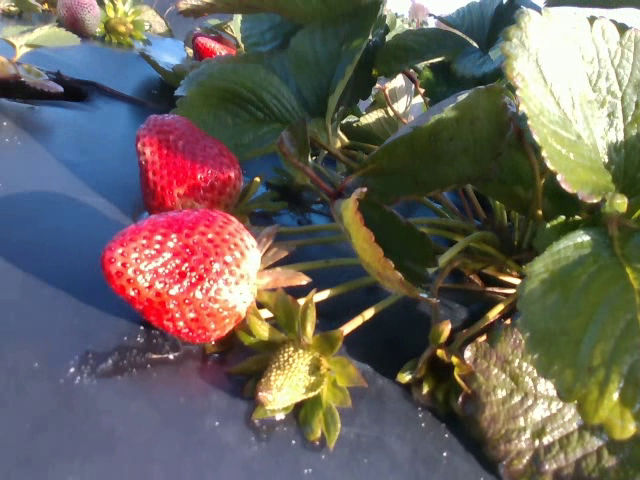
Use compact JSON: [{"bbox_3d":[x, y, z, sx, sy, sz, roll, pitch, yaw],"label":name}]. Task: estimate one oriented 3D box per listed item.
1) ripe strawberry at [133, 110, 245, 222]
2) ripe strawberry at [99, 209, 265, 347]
[{"bbox_3d":[-0.051,-0.025,0.238,0.048,0.054,0.039,-44,8,-33],"label":"ripe strawberry"},{"bbox_3d":[-0.039,0.007,0.177,0.038,0.043,0.053,-39,-29,23],"label":"ripe strawberry"}]
